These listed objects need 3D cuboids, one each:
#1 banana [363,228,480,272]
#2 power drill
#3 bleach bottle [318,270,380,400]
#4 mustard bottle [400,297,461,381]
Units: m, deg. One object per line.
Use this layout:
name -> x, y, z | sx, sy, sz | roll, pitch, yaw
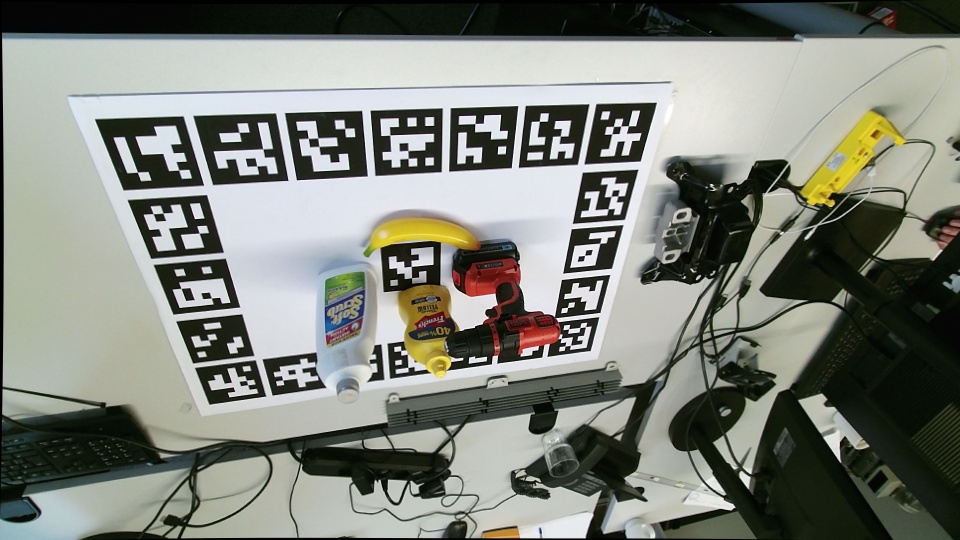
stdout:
banana -> -0.094, -0.035, 0.888 | 0.198, 0.038, 0.074 | -3, 121, -16
power drill -> 0.027, 0.076, 0.885 | 0.185, 0.186, 0.057 | -6, 133, -9
bleach bottle -> -0.199, 0.098, 0.834 | 0.103, 0.250, 0.068 | -12, 126, -8
mustard bottle -> -0.081, 0.123, 0.912 | 0.096, 0.190, 0.058 | -4, 126, -12
